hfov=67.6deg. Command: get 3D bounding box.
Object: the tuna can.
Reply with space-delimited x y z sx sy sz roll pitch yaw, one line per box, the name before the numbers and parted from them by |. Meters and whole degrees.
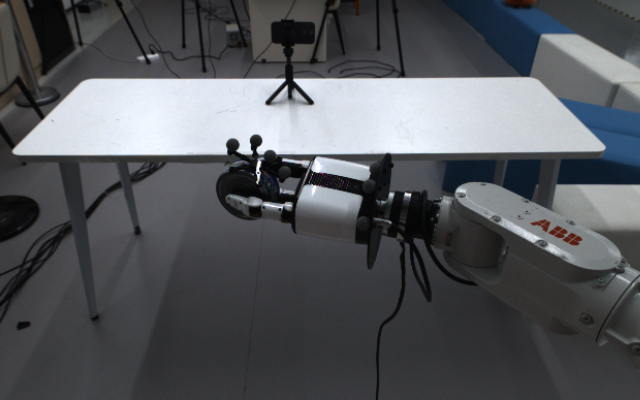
tuna can | -0.100 -0.008 0.685 0.085 0.085 0.034 12 35 14
